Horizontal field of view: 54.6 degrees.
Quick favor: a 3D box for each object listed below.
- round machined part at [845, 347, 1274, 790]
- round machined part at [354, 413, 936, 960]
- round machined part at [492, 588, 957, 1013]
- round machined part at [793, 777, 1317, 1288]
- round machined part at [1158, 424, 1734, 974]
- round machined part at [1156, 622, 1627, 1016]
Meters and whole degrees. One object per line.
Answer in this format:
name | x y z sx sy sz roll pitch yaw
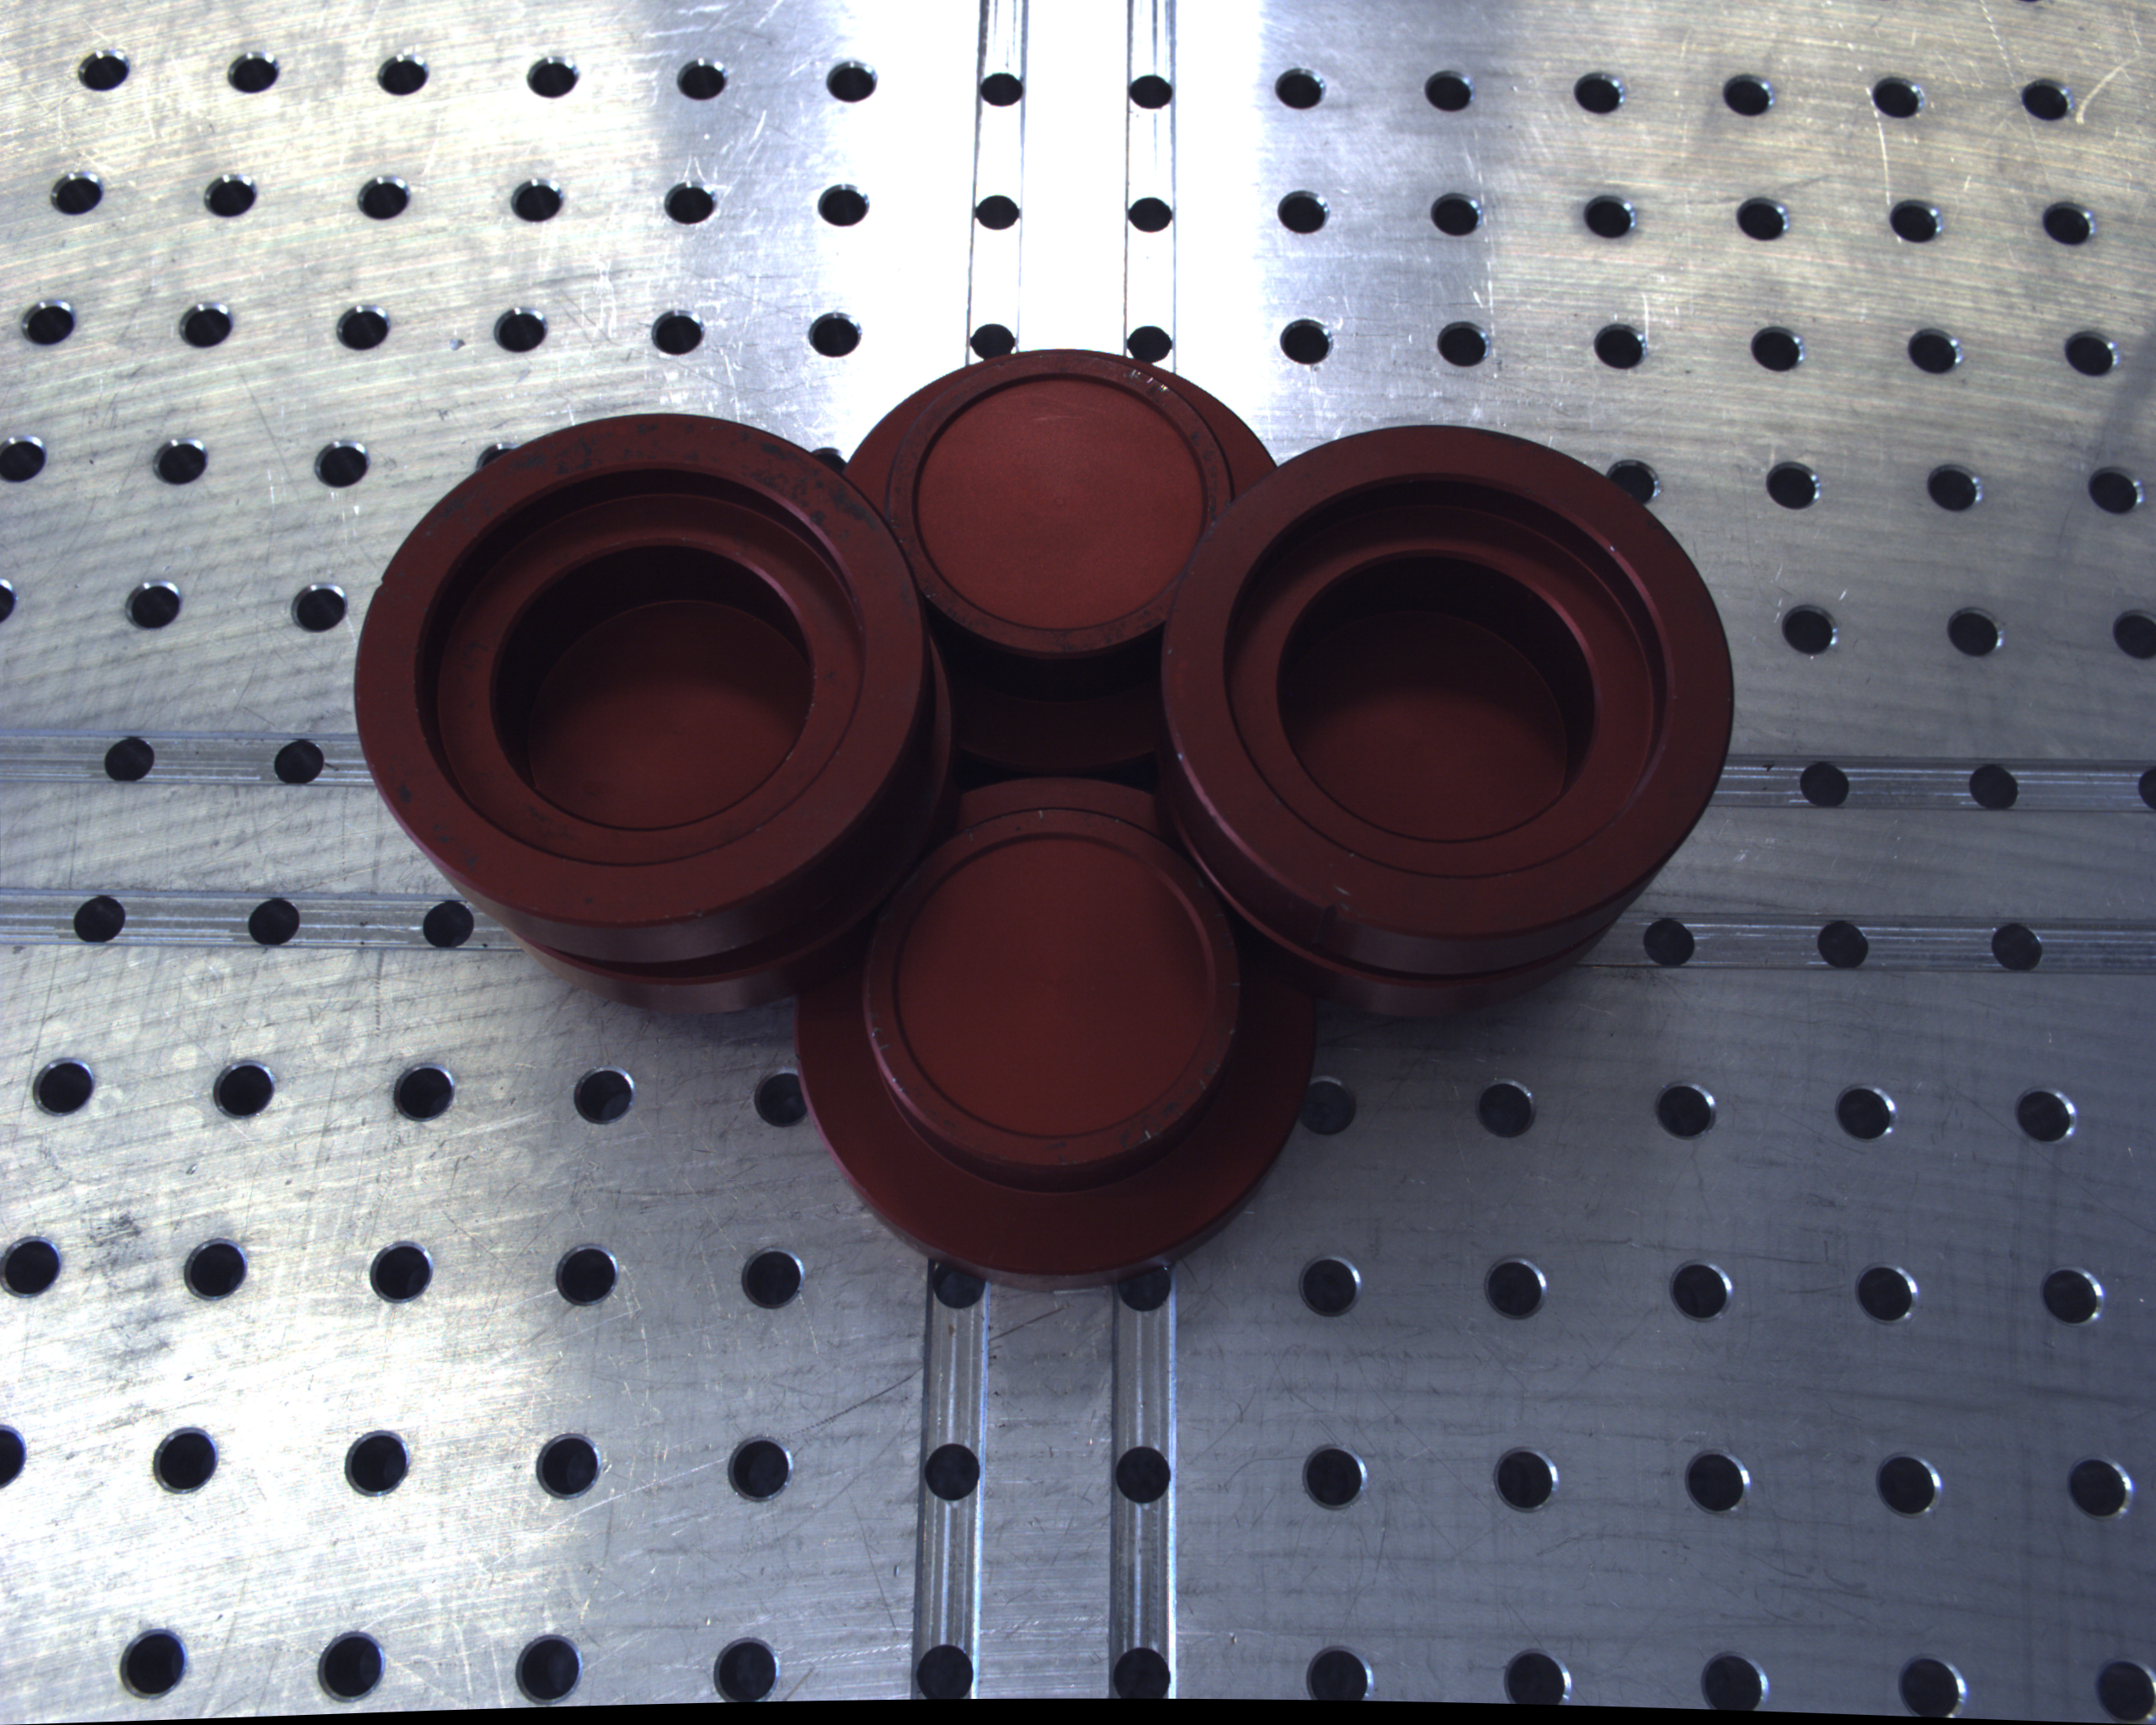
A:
round machined part | -0.004 -0.064 0.426 0.099 0.042 0.098 0 70 0
round machined part | -0.075 -0.028 0.378 0.099 0.042 0.098 0 70 0
round machined part | -0.072 -0.017 0.408 0.099 0.042 0.098 0 70 0
round machined part | -0.004 0.029 0.392 0.099 0.042 0.098 0 70 0
round machined part | 0.064 -0.026 0.378 0.099 0.042 0.098 0 70 0
round machined part | 0.064 -0.017 0.409 0.099 0.042 0.098 0 70 0
